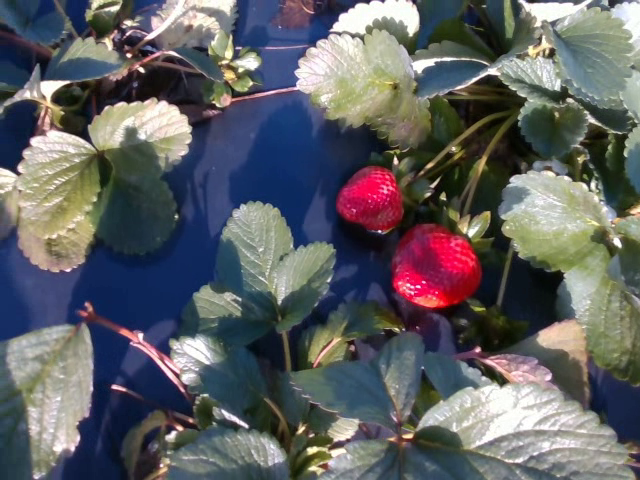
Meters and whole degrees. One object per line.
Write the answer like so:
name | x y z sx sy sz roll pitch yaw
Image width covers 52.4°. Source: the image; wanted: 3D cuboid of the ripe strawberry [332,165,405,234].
ripe strawberry | 0.025 -0.023 0.355 0.043 0.037 0.051 12 37 35

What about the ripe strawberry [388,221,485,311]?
ripe strawberry | 0.058 0.018 0.335 0.052 0.046 0.057 23 40 35
